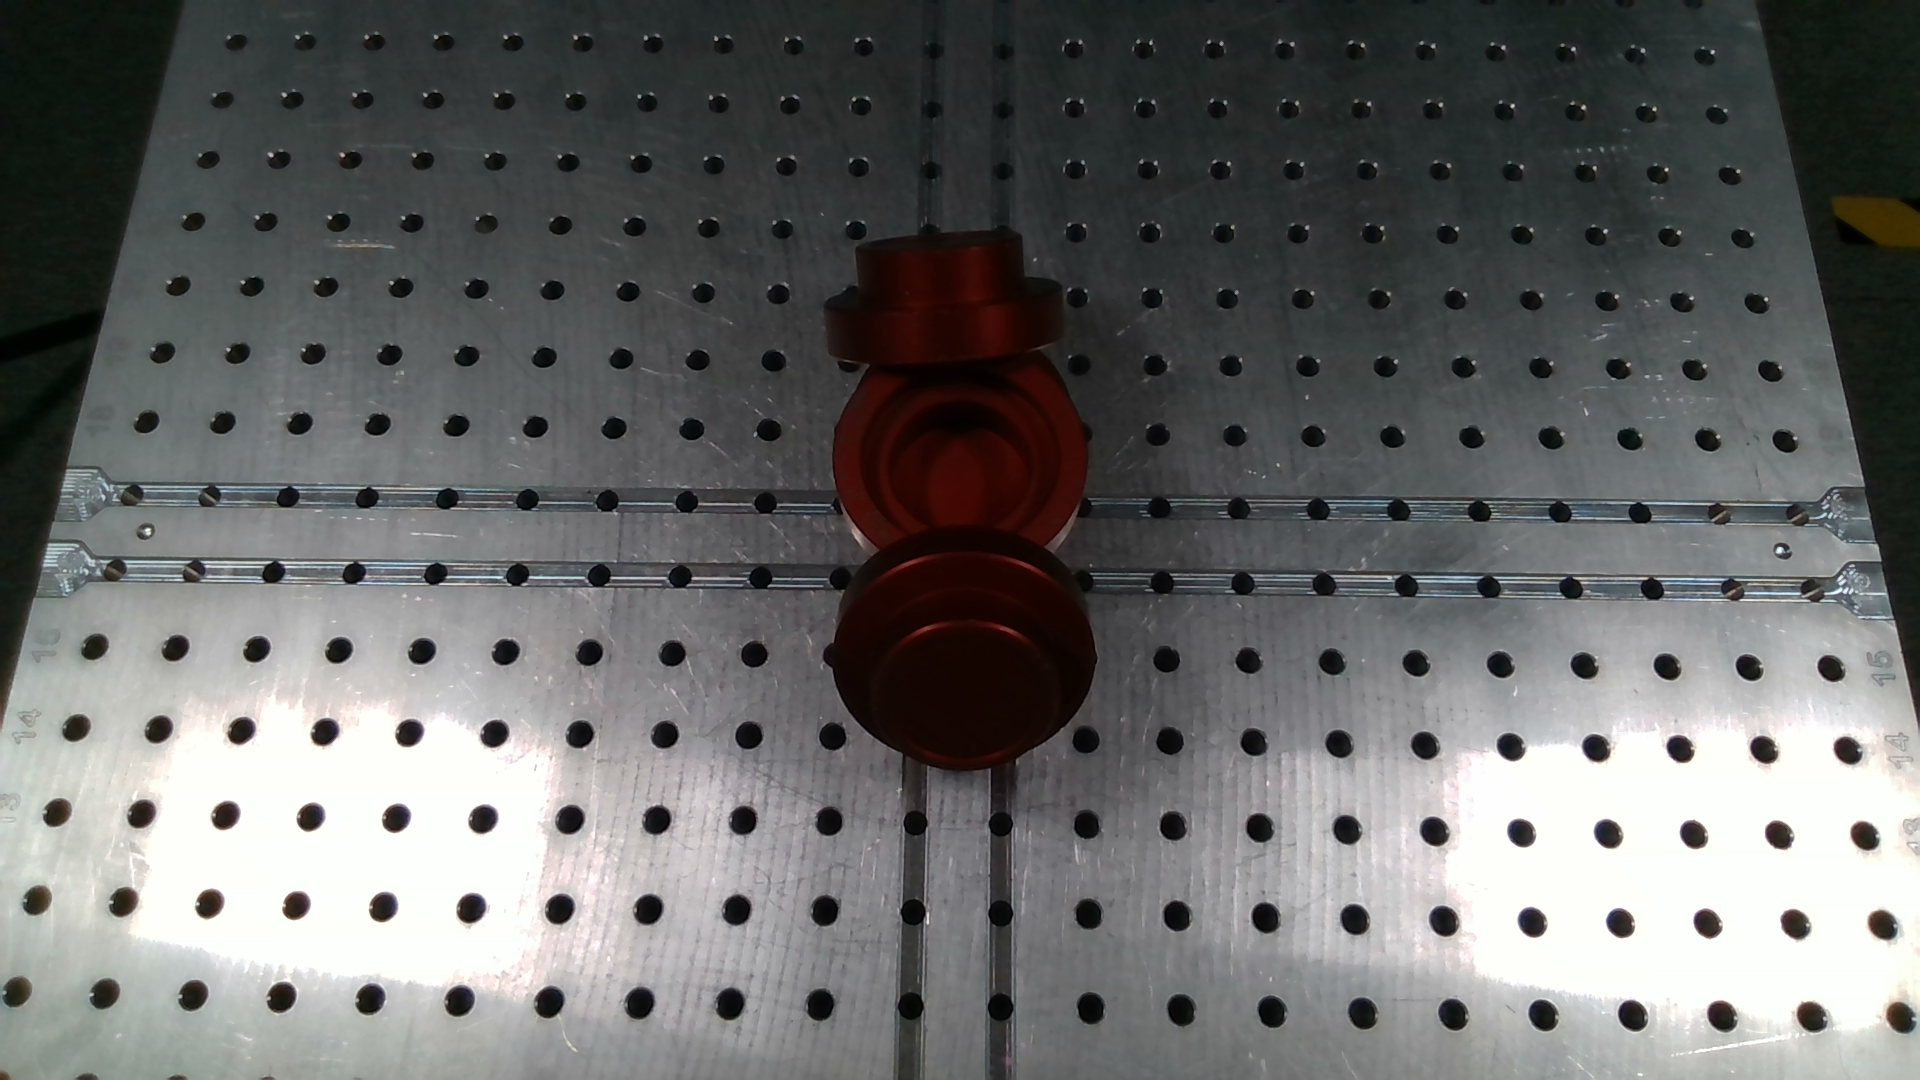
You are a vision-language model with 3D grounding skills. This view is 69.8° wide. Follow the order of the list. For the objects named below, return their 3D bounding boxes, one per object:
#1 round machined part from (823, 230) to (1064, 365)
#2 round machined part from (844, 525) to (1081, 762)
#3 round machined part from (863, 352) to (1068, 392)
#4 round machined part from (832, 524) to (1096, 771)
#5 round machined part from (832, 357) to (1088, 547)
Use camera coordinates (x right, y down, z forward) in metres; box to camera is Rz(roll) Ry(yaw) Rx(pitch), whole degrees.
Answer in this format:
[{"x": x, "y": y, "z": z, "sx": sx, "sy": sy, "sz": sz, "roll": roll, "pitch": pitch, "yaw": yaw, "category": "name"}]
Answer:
[{"x": -0.007, "y": -0.102, "z": 0.564, "sx": 0.098, "sy": 0.098, "sz": 0.042, "roll": -5, "pitch": 107, "yaw": -2, "category": "round machined part"}, {"x": 0.001, "y": 0.039, "z": 0.567, "sx": 0.098, "sy": 0.042, "sz": 0.098, "roll": 0, "pitch": 70, "yaw": 0, "category": "round machined part"}, {"x": 0.001, "y": -0.053, "z": 0.600, "sx": 0.098, "sy": 0.042, "sz": 0.098, "roll": 0, "pitch": 70, "yaw": 0, "category": "round machined part"}, {"x": 0.002, "y": 0.046, "z": 0.511, "sx": 0.098, "sy": 0.098, "sz": 0.042, "roll": 0, "pitch": 30, "yaw": 0, "category": "round machined part"}, {"x": 0.000, "y": -0.026, "z": 0.545, "sx": 0.098, "sy": 0.042, "sz": 0.098, "roll": 0, "pitch": 70, "yaw": 0, "category": "round machined part"}]
